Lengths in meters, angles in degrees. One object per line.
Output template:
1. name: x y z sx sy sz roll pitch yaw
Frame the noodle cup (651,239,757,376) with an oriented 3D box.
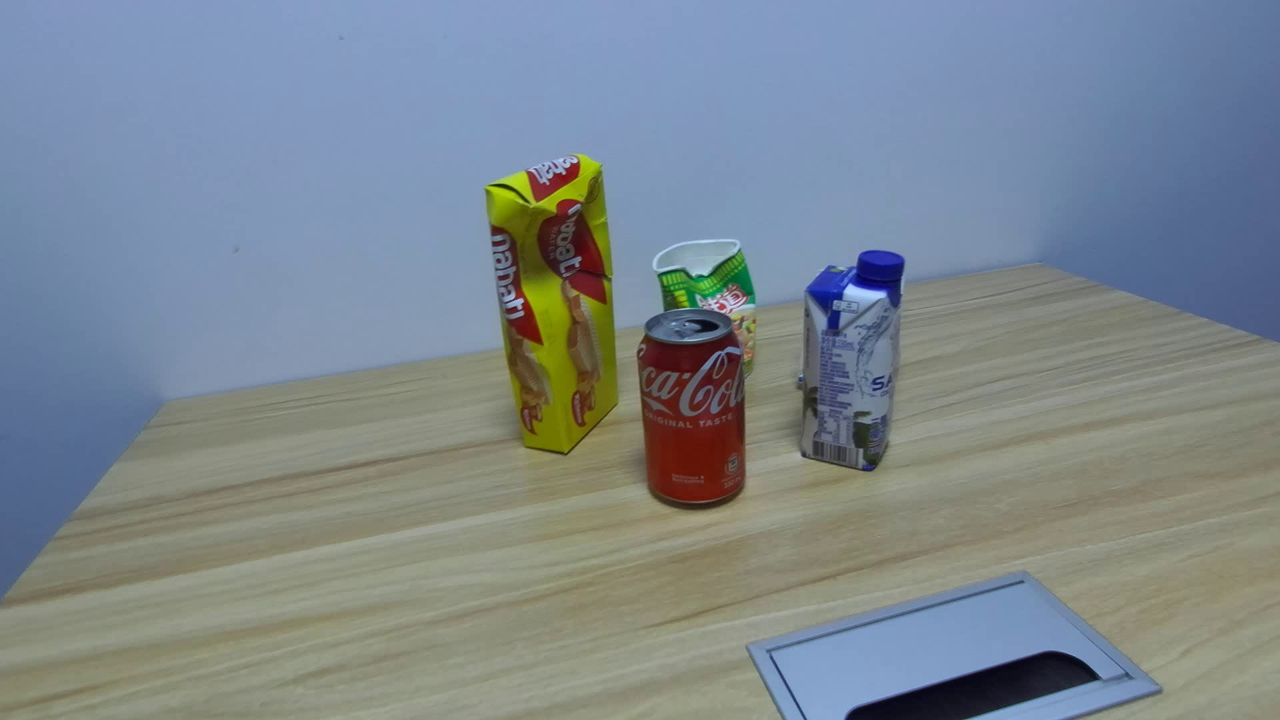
1. noodle cup: 0.062 -0.042 0.619 0.083 0.122 0.075 -16 17 -1

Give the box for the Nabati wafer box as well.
1. Nabati wafer box: -0.060 -0.039 0.521 0.042 0.204 0.107 9 27 25

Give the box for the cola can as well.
1. cola can: 0.034 0.030 0.452 0.068 0.120 0.068 -3 23 2

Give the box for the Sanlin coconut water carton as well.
1. Sanlin coconut water carton: 0.142 -0.001 0.474 0.060 0.144 0.061 8 28 27
